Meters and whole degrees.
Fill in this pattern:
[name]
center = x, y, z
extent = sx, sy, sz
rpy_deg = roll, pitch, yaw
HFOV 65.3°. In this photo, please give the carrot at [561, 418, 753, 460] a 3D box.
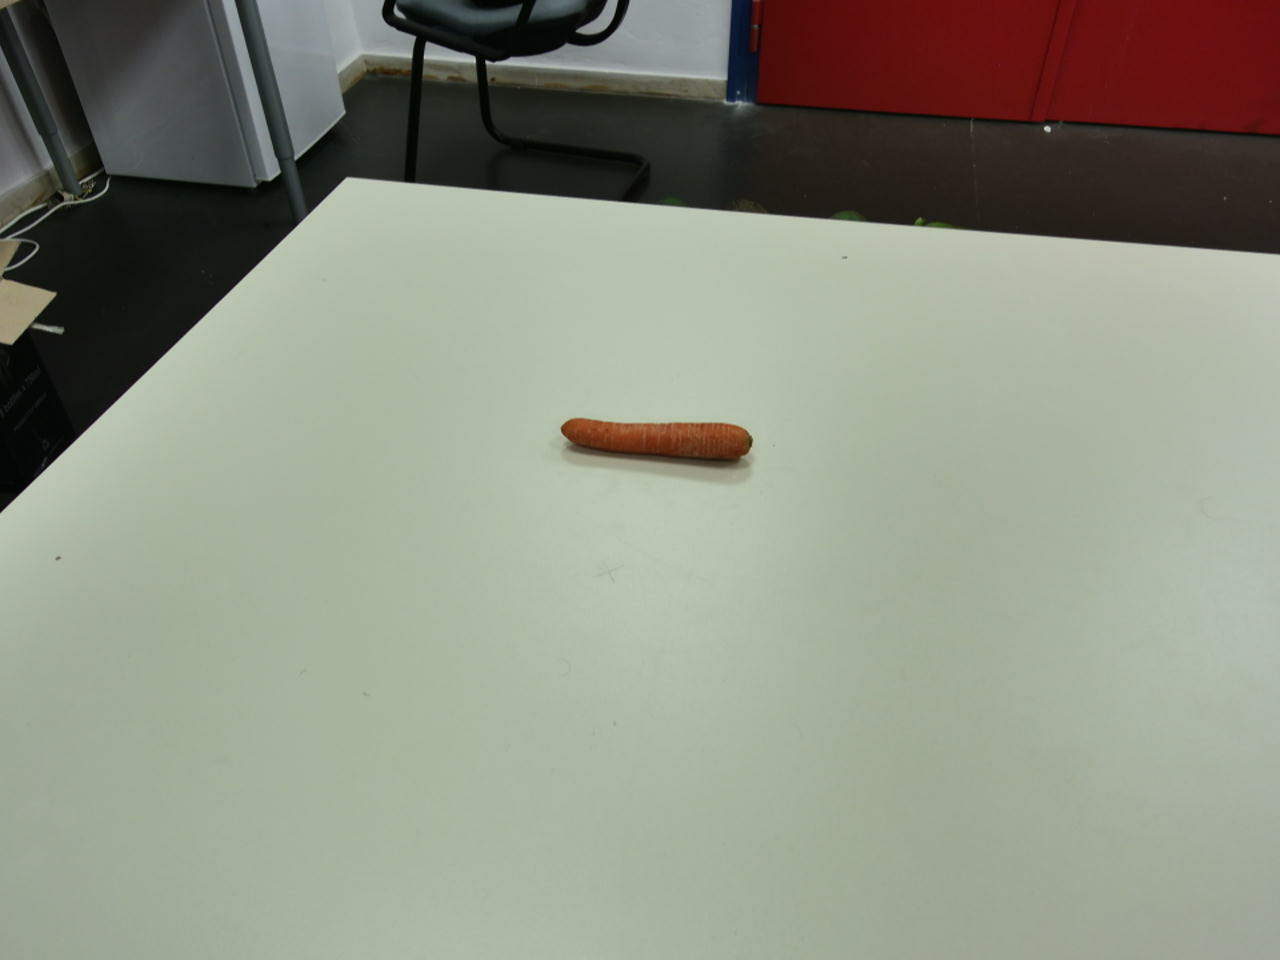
[carrot]
center = 0.010, -0.028, 0.628
extent = 0.122, 0.023, 0.024
rpy_deg = 6, 39, 8
